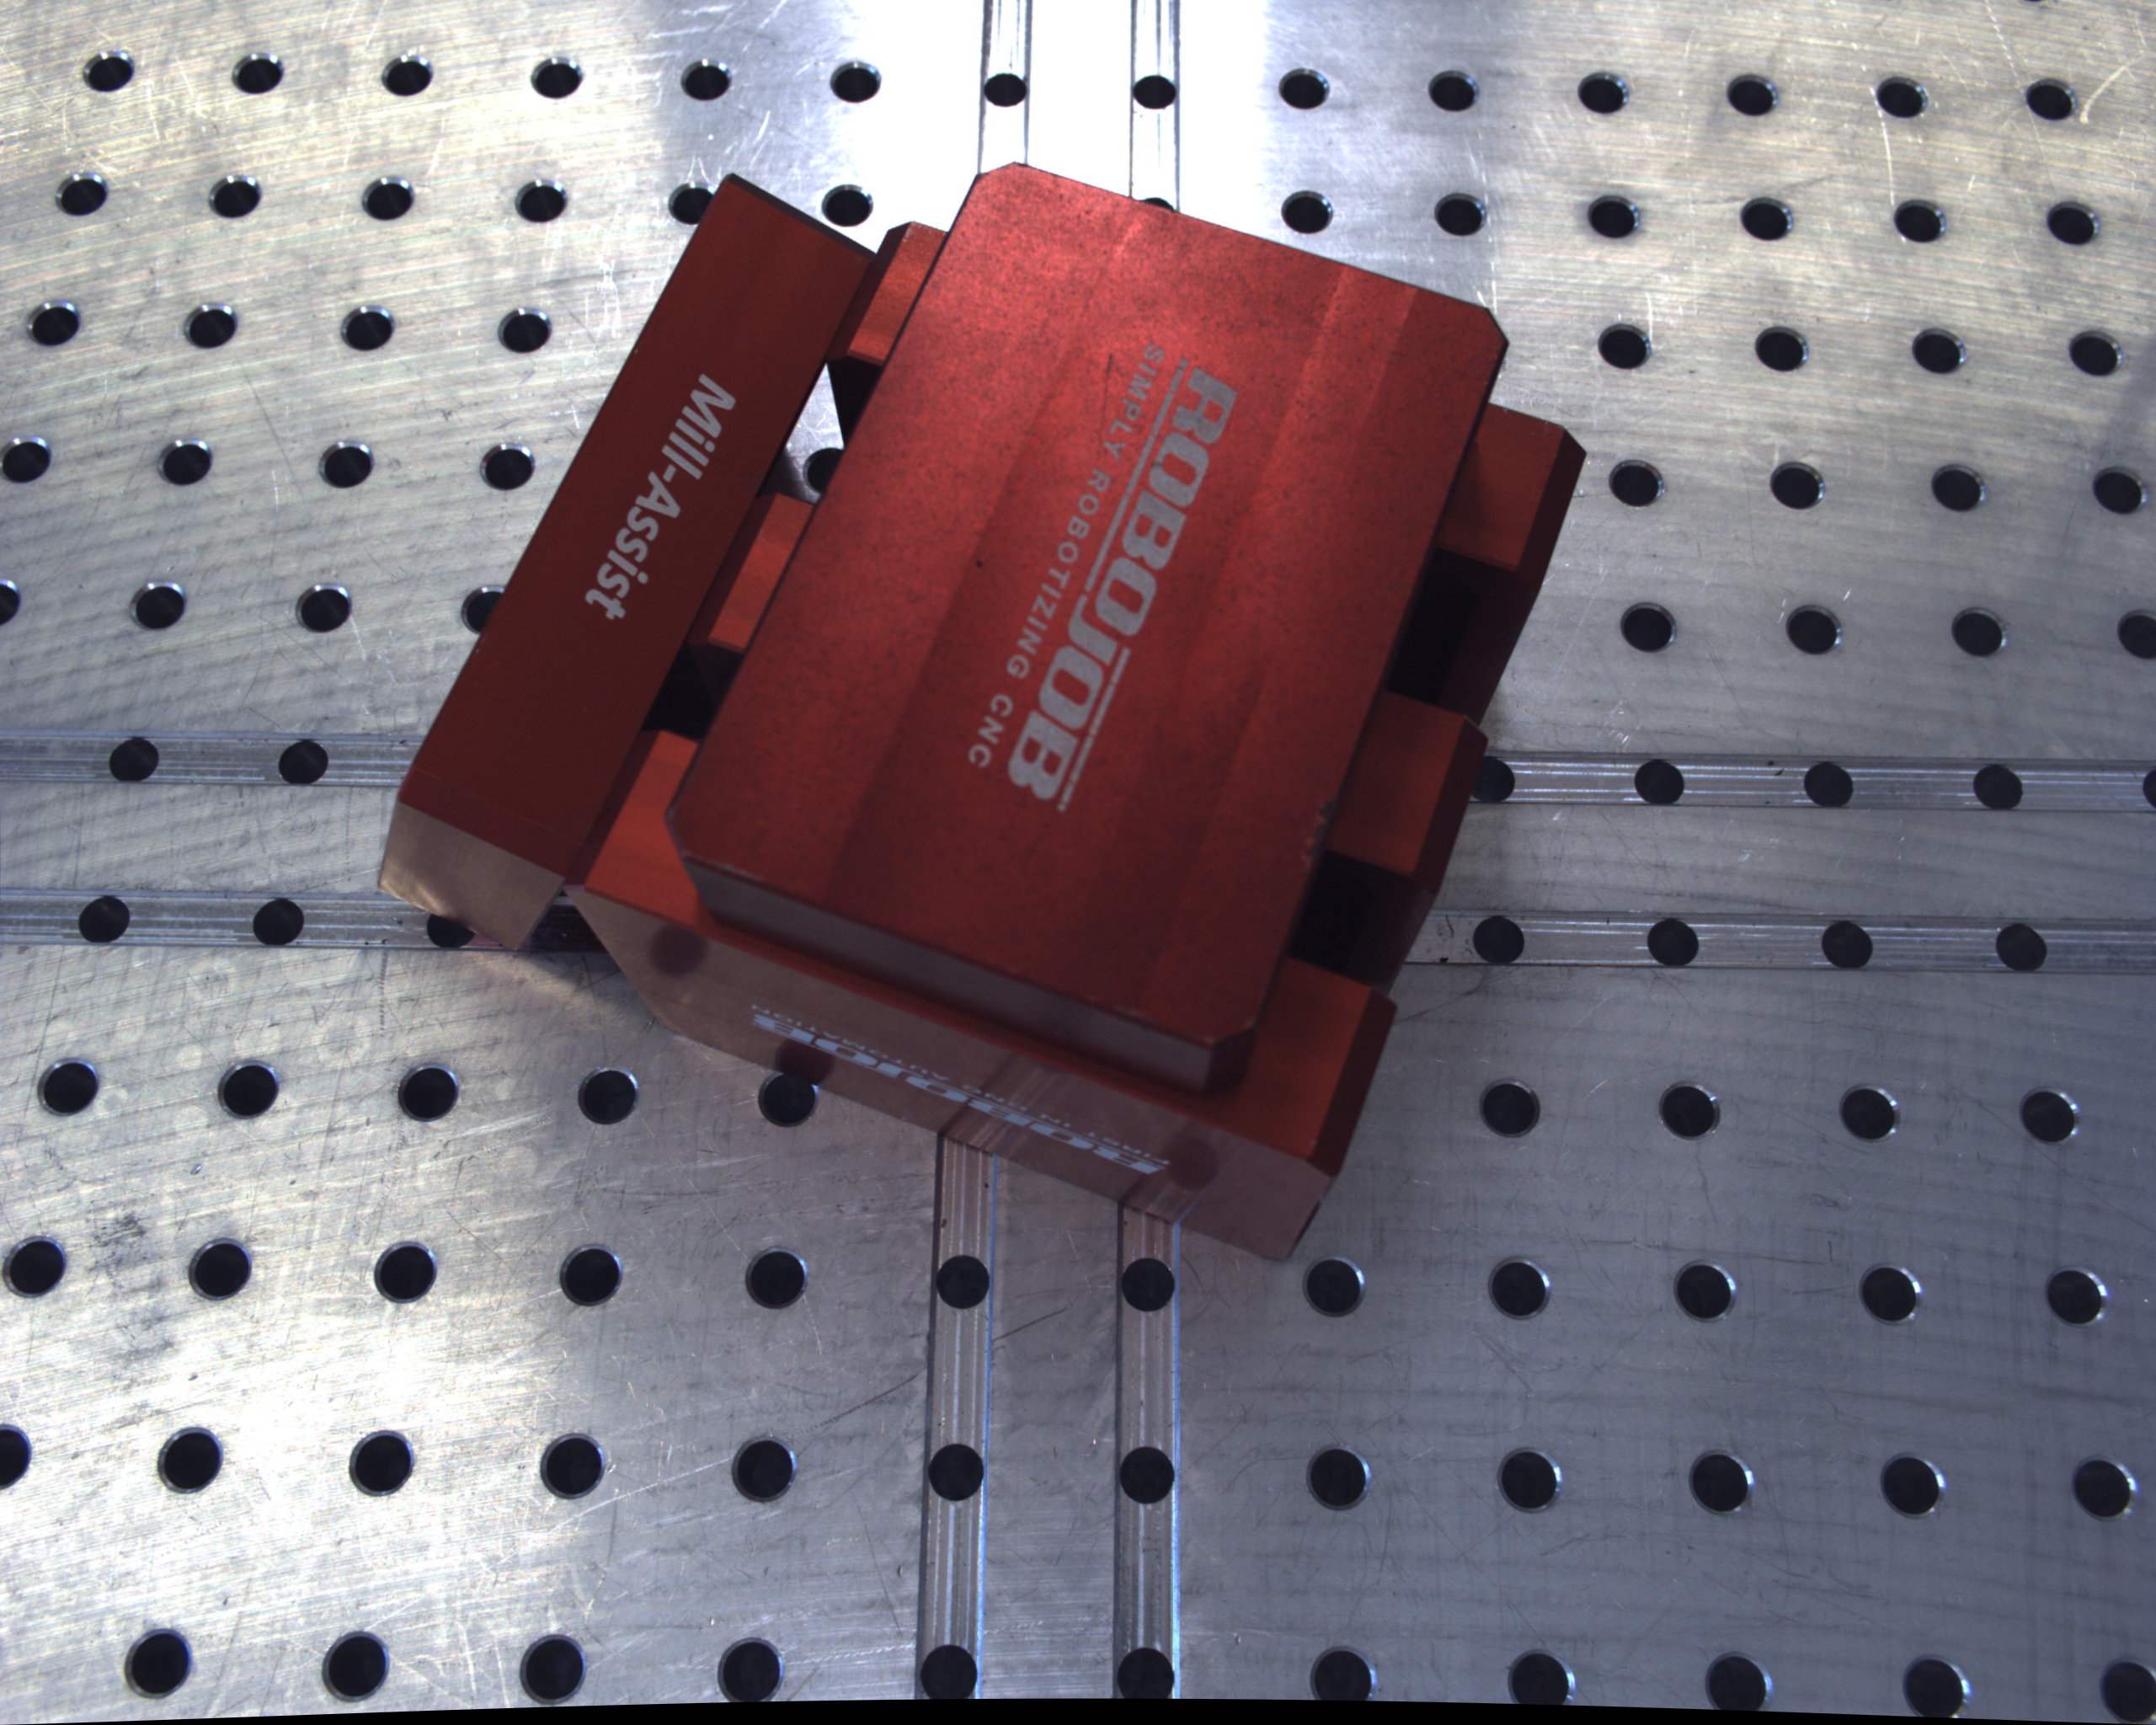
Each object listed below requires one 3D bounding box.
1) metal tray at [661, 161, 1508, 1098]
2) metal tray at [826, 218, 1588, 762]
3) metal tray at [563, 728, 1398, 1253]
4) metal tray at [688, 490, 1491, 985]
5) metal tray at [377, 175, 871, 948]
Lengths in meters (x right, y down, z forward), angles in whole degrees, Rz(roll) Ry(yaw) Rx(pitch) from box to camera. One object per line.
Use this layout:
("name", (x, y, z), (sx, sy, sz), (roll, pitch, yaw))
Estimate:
("metal tray", (0.004, -0.039, 0.327), (0.090, 0.030, 0.130), (20, 71, 7))
("metal tray", (0.022, -0.067, 0.401), (0.130, 0.090, 0.030), (19, 72, 7))
("metal tray", (-0.016, 0.026, 0.367), (0.130, 0.090, 0.030), (20, 72, 7))
("metal tray", (0.001, -0.015, 0.381), (0.130, 0.090, 0.030), (19, 70, 5))
("metal tray", (-0.086, -0.053, 0.393), (0.030, 0.090, 0.130), (27, 71, -14))
